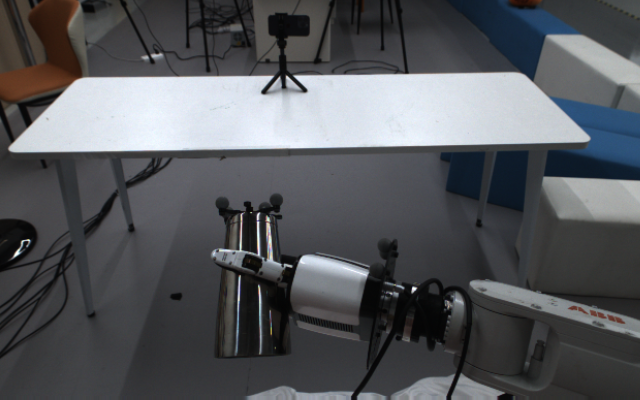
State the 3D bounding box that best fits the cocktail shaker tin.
[{"bbox_3d":[-0.084,0.107,0.602,0.093,0.093,0.170,-2,71,-6],"label":"cocktail shaker tin"}]
